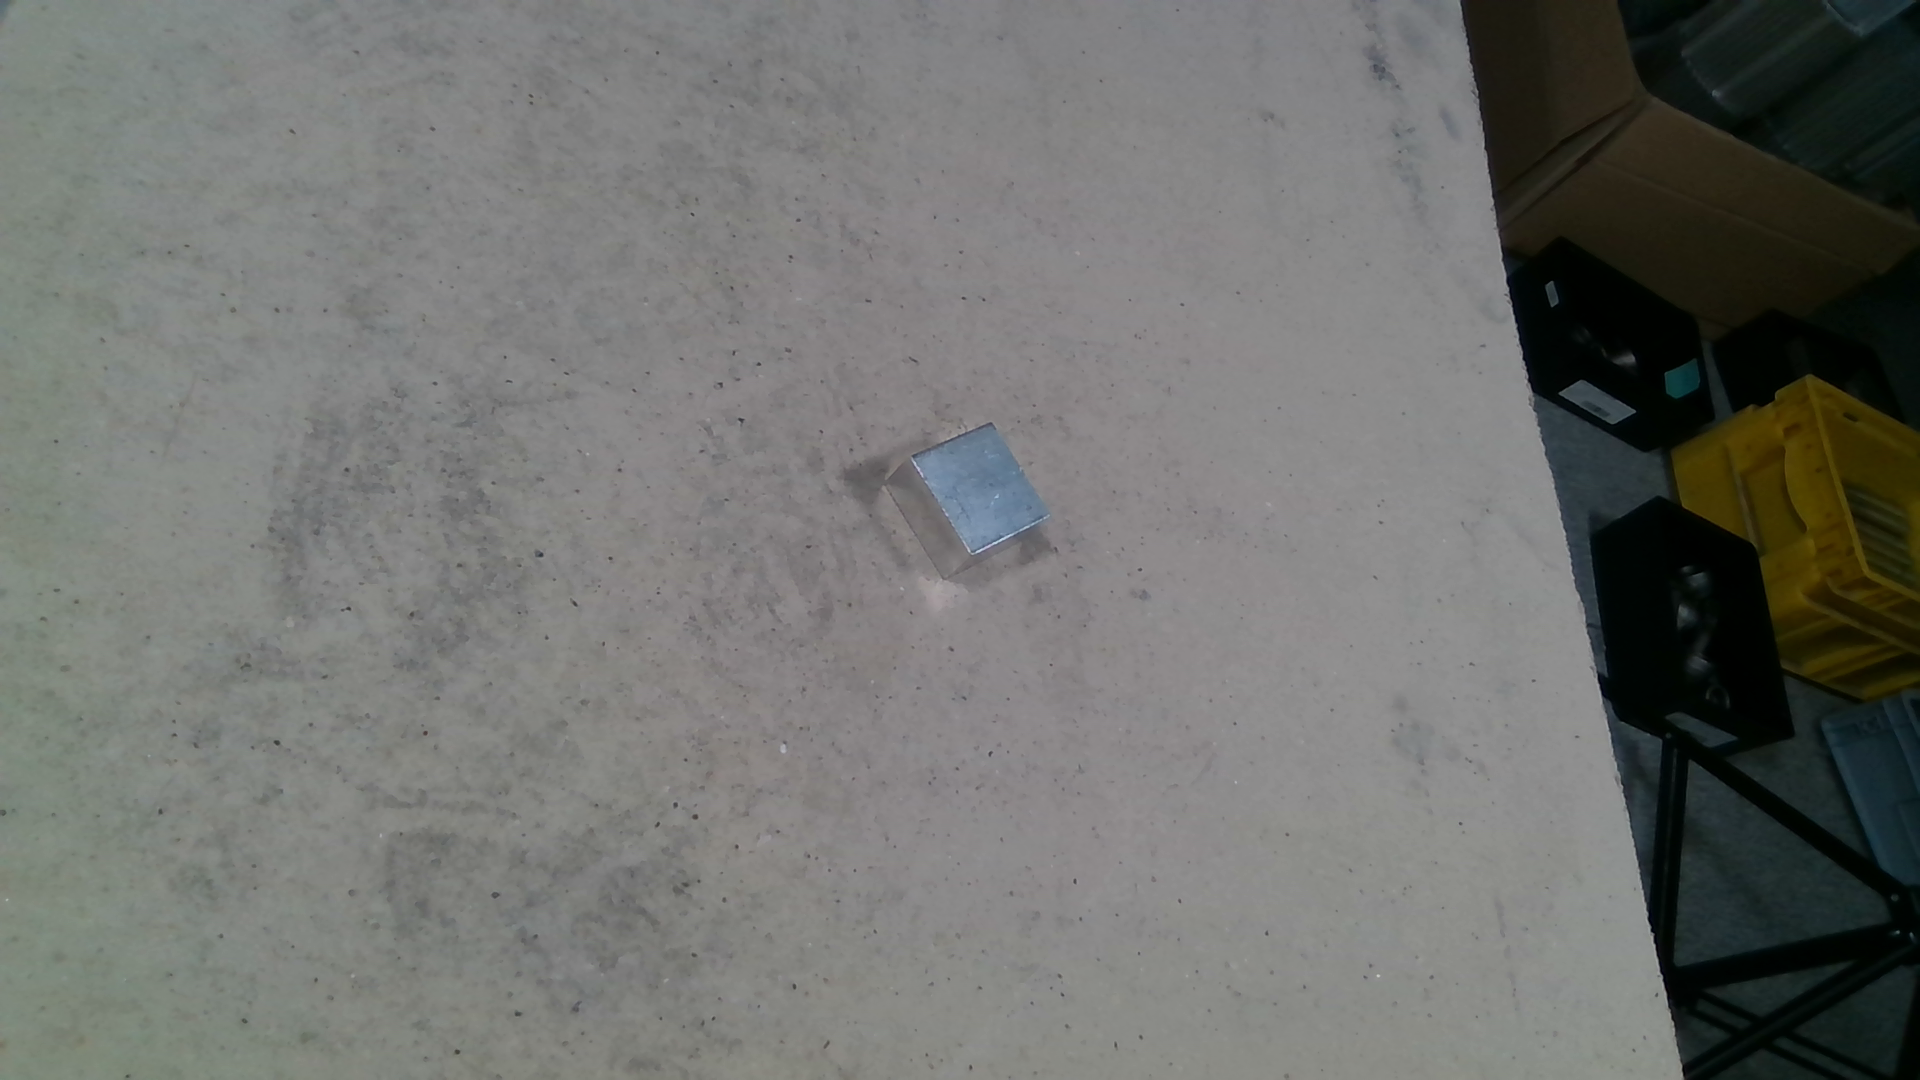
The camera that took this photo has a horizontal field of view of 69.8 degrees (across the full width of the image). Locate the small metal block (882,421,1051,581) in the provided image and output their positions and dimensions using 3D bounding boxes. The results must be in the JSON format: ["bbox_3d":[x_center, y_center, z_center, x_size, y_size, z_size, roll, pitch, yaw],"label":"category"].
[{"bbox_3d":[0.003,-0.017,0.598,0.050,0.025,0.050,-26,81,-38],"label":"small metal block"}]
